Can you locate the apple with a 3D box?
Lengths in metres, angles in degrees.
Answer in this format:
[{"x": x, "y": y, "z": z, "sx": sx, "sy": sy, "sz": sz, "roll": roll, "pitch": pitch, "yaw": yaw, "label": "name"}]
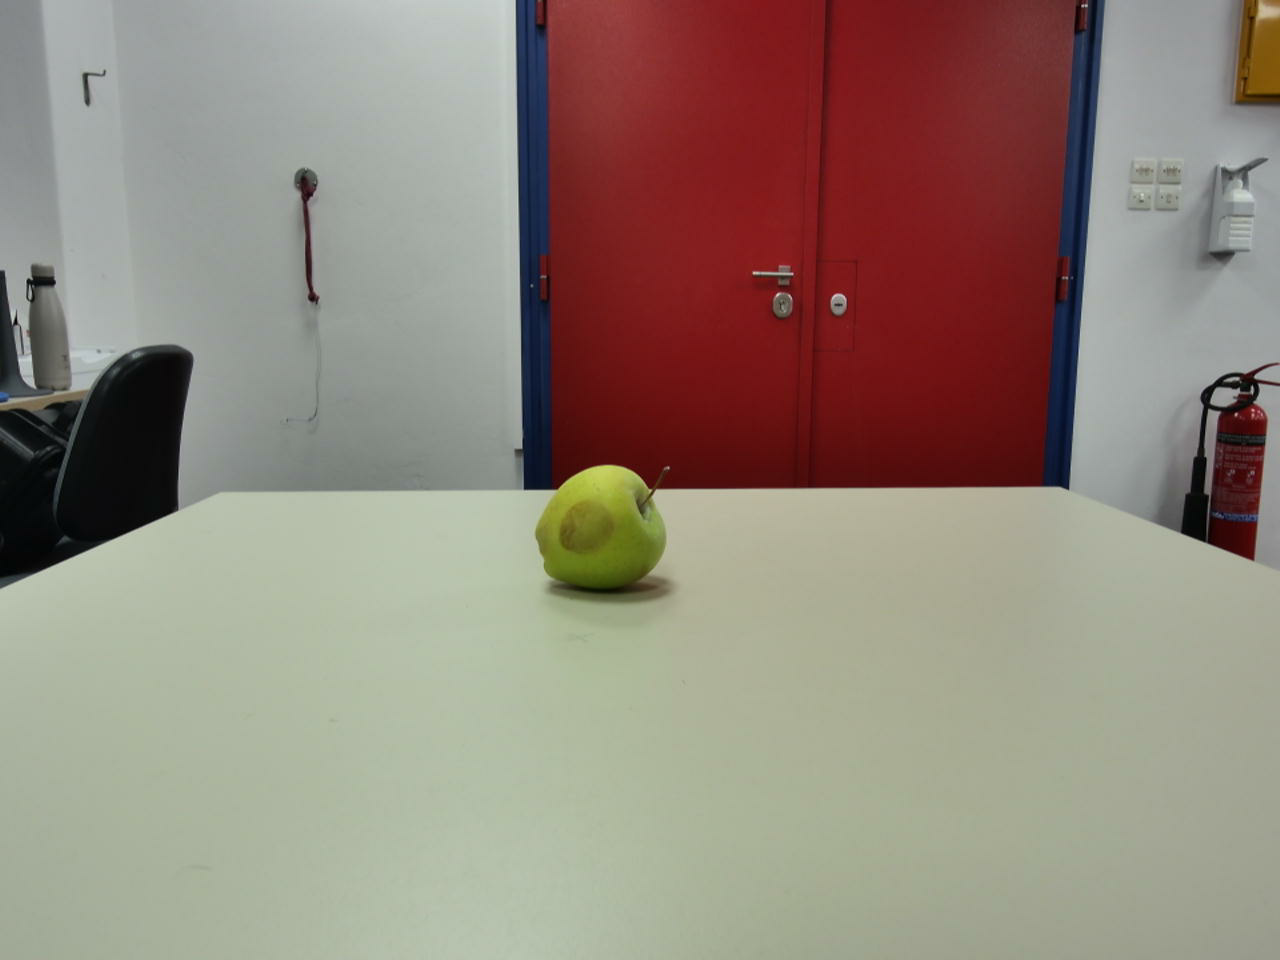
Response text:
[{"x": -0.023, "y": 0.028, "z": 0.614, "sx": 0.077, "sy": 0.075, "sz": 0.072, "roll": 8, "pitch": 10, "yaw": 43, "label": "apple"}]
